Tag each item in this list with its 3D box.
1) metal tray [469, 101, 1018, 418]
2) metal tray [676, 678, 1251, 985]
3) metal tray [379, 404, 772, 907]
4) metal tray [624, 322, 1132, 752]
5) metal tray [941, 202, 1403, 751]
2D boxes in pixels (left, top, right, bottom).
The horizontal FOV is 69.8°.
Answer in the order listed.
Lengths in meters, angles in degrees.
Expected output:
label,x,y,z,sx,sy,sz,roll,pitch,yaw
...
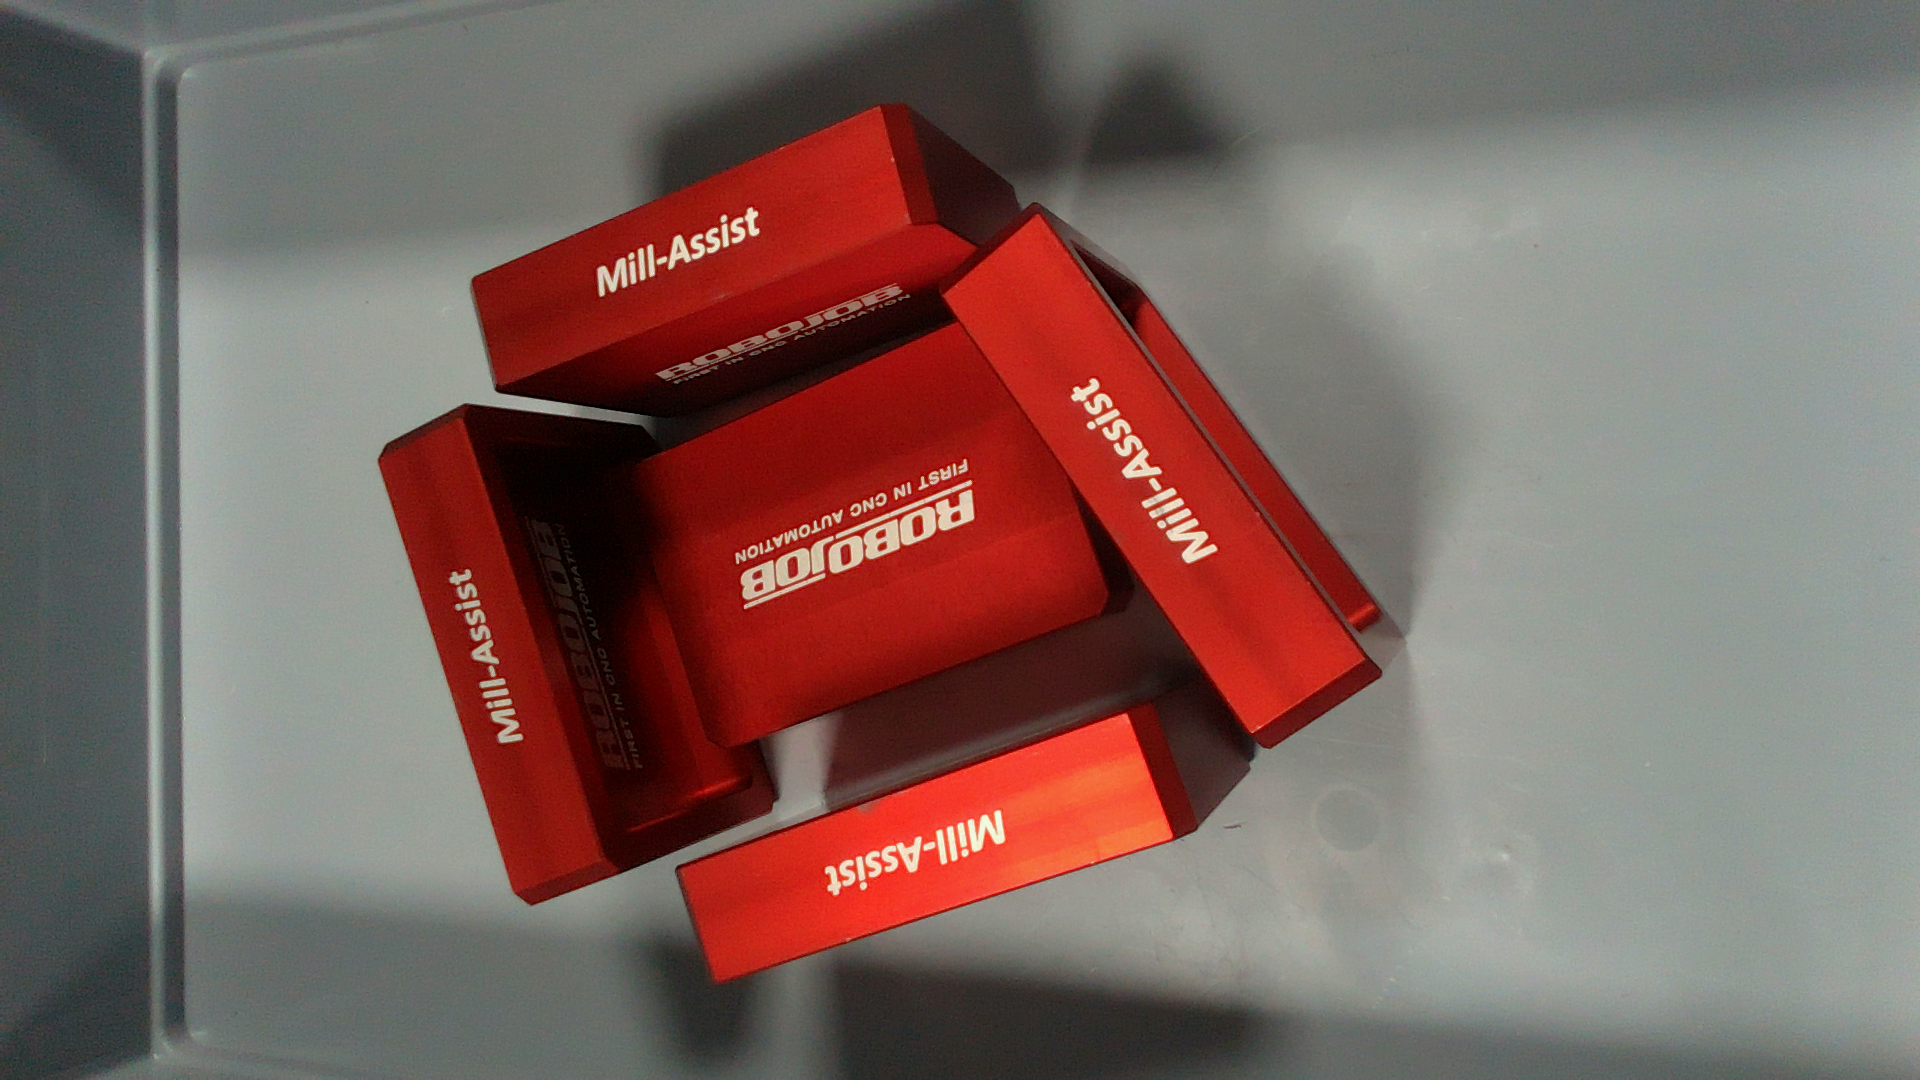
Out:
label,x,y,z,sx,sy,sz,roll,pitch,yaw
metal tray,-0.054,-0.071,0.379,0.130,0.090,0.030,-17,84,19
metal tray,0.005,0.073,0.358,0.130,0.090,0.030,-22,83,19
metal tray,-0.107,0.030,0.398,0.030,0.090,0.130,-22,83,19
metal tray,-0.026,-0.001,0.400,0.130,0.030,0.090,-21,83,19
metal tray,0.056,-0.016,0.340,0.030,0.090,0.130,-38,78,17
